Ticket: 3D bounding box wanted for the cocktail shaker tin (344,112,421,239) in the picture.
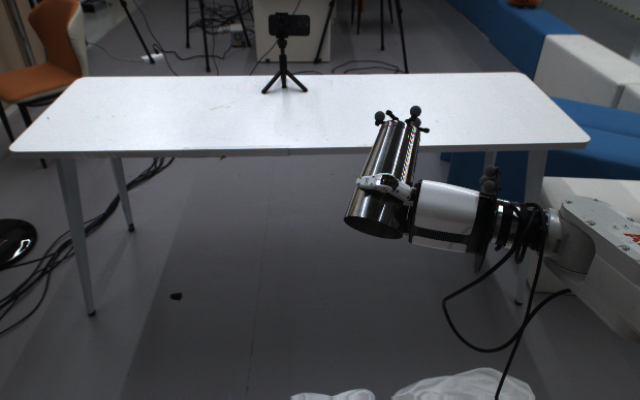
[{"bbox_3d":[0.104,-0.035,0.754,0.093,0.093,0.170,13,73,16],"label":"cocktail shaker tin"}]
